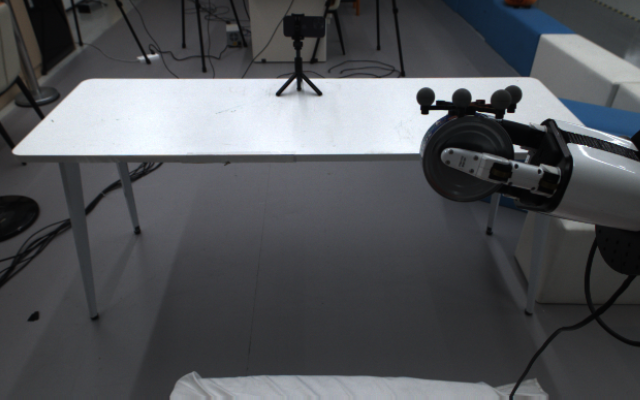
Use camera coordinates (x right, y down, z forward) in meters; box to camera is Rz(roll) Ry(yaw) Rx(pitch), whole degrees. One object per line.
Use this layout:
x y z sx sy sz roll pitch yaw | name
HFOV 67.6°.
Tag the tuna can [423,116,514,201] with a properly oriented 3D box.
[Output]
0.144 -0.045 0.480 0.085 0.085 0.034 4 18 3 | tuna can
